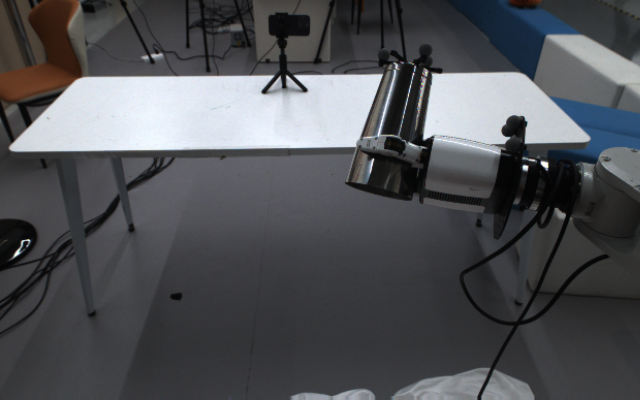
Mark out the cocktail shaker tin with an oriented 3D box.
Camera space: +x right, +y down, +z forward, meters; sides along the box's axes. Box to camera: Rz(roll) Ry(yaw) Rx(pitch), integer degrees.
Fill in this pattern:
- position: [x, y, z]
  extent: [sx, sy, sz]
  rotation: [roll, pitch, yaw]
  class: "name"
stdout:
- position: [0.100, -0.093, 0.656]
  extent: [0.093, 0.170, 0.093]
  rotation: [15, -4, 1]
  class: "cocktail shaker tin"
